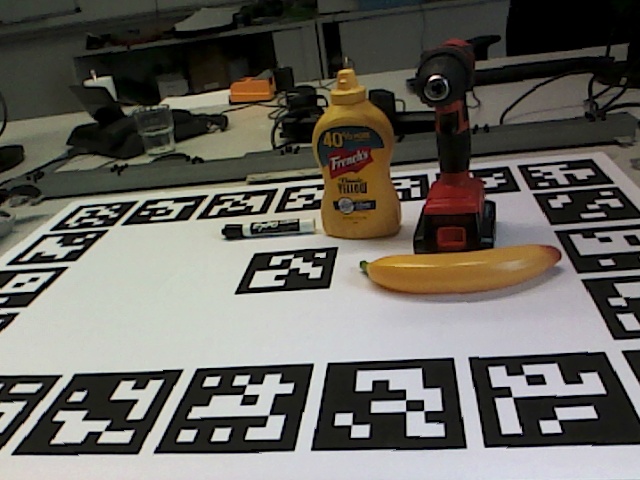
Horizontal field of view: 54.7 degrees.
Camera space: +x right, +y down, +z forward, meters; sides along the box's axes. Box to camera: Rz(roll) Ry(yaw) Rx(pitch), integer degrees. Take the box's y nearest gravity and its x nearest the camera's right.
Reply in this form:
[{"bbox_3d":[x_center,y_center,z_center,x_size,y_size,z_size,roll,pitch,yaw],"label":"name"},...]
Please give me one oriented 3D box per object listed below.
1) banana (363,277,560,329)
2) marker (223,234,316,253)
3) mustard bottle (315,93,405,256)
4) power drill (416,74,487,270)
[{"bbox_3d":[0.131,0.058,0.607,0.198,0.039,0.074,-2,29,18],"label":"banana"},{"bbox_3d":[-0.066,0.005,0.793,0.121,0.019,0.019,-3,28,12],"label":"marker"},{"bbox_3d":[0.045,-0.076,0.724,0.096,0.191,0.058,2,28,19],"label":"mustard bottle"},{"bbox_3d":[0.138,-0.068,0.640,0.057,0.186,0.184,4,27,21],"label":"power drill"}]
